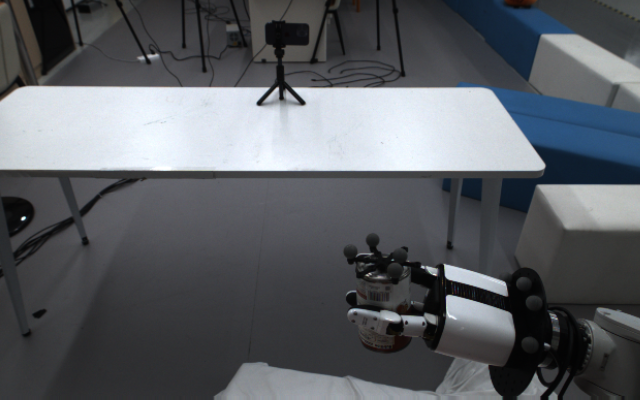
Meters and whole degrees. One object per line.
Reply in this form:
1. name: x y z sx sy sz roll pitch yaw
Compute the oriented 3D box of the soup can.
1. soup can: 0.082 0.125 0.595 0.067 0.101 0.067 -4 21 1
